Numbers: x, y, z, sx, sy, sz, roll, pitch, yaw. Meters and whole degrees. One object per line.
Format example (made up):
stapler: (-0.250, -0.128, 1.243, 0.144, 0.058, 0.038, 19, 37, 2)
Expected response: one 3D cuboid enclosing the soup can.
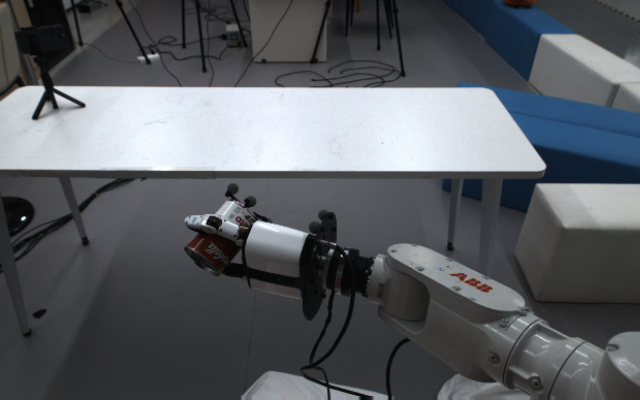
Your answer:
soup can: (-0.148, 0.057, 0.738, 0.067, 0.067, 0.101, 23, 61, 28)
